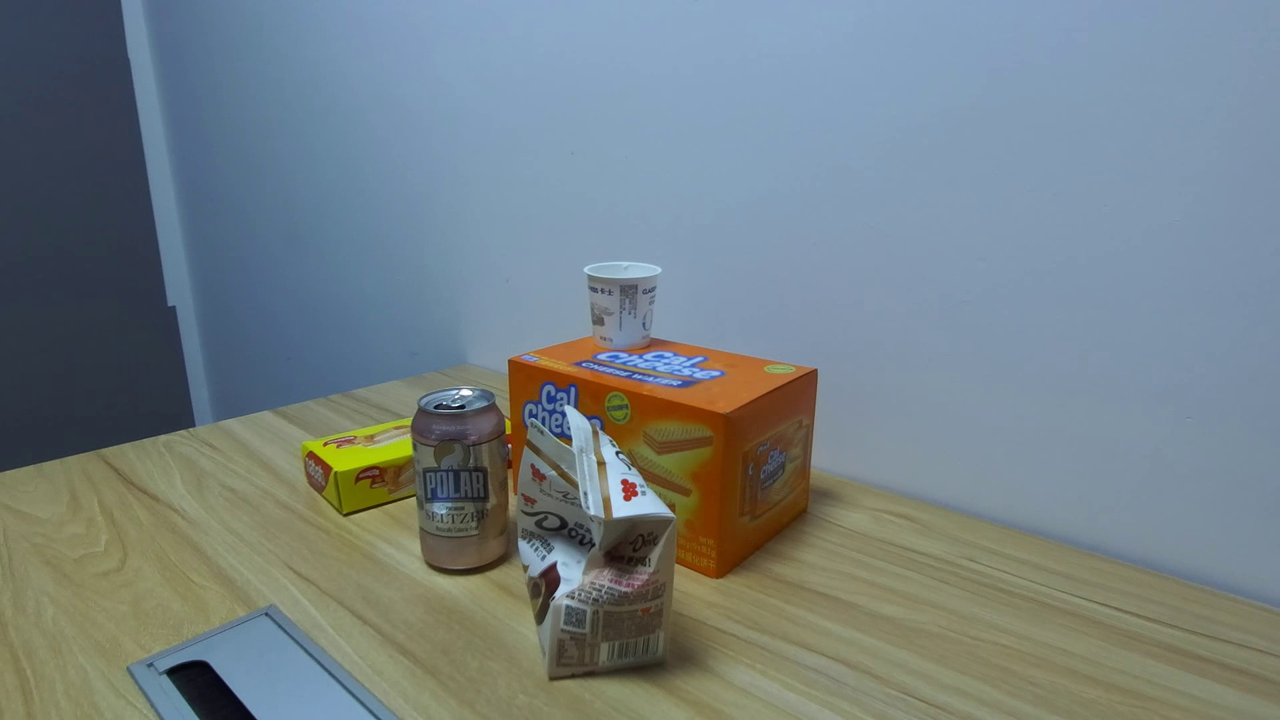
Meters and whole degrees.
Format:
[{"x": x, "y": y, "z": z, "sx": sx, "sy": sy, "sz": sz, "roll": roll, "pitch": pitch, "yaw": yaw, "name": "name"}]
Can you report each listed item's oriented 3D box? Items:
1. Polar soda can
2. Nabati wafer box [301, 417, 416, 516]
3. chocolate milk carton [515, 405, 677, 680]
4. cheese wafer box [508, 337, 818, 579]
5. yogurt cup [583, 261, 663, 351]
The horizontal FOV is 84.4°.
[{"x": -0.132, "y": 0.087, "z": 0.523, "sx": 0.067, "sy": 0.125, "sz": 0.067, "roll": 1, "pitch": 15, "yaw": 0, "name": "Polar soda can"}, {"x": -0.202, "y": 0.086, "z": 0.677, "sx": 0.204, "sy": 0.042, "sz": 0.096, "roll": -12, "pitch": 17, "yaw": -37, "name": "Nabati wafer box"}, {"x": -0.028, "y": 0.107, "z": 0.413, "sx": 0.077, "sy": 0.155, "sz": 0.089, "roll": -8, "pitch": 31, "yaw": -16, "name": "chocolate milk carton"}, {"x": 0.017, "y": 0.064, "z": 0.602, "sx": 0.221, "sy": 0.129, "sz": 0.149, "roll": 13, "pitch": 20, "yaw": 37, "name": "cheese wafer box"}, {"x": -0.016, "y": -0.049, "z": 0.642, "sx": 0.072, "sy": 0.068, "sz": 0.072, "roll": 1, "pitch": 18, "yaw": 0, "name": "yogurt cup"}]
